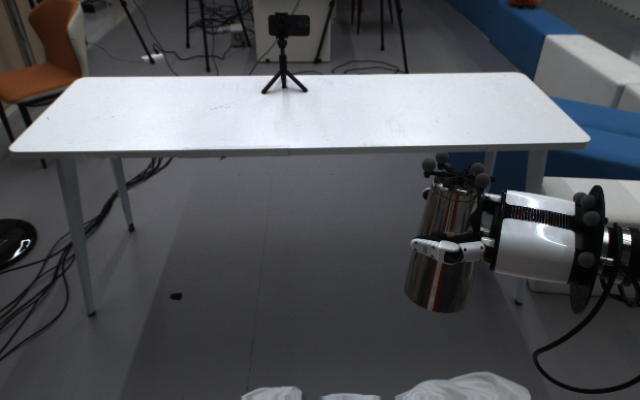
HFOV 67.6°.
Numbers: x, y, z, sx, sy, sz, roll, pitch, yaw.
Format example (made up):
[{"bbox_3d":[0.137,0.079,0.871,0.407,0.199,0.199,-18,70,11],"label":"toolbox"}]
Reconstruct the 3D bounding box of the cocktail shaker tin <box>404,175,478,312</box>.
[{"bbox_3d":[0.171,0.052,0.646,0.093,0.170,0.093,3,26,-1],"label":"cocktail shaker tin"}]
